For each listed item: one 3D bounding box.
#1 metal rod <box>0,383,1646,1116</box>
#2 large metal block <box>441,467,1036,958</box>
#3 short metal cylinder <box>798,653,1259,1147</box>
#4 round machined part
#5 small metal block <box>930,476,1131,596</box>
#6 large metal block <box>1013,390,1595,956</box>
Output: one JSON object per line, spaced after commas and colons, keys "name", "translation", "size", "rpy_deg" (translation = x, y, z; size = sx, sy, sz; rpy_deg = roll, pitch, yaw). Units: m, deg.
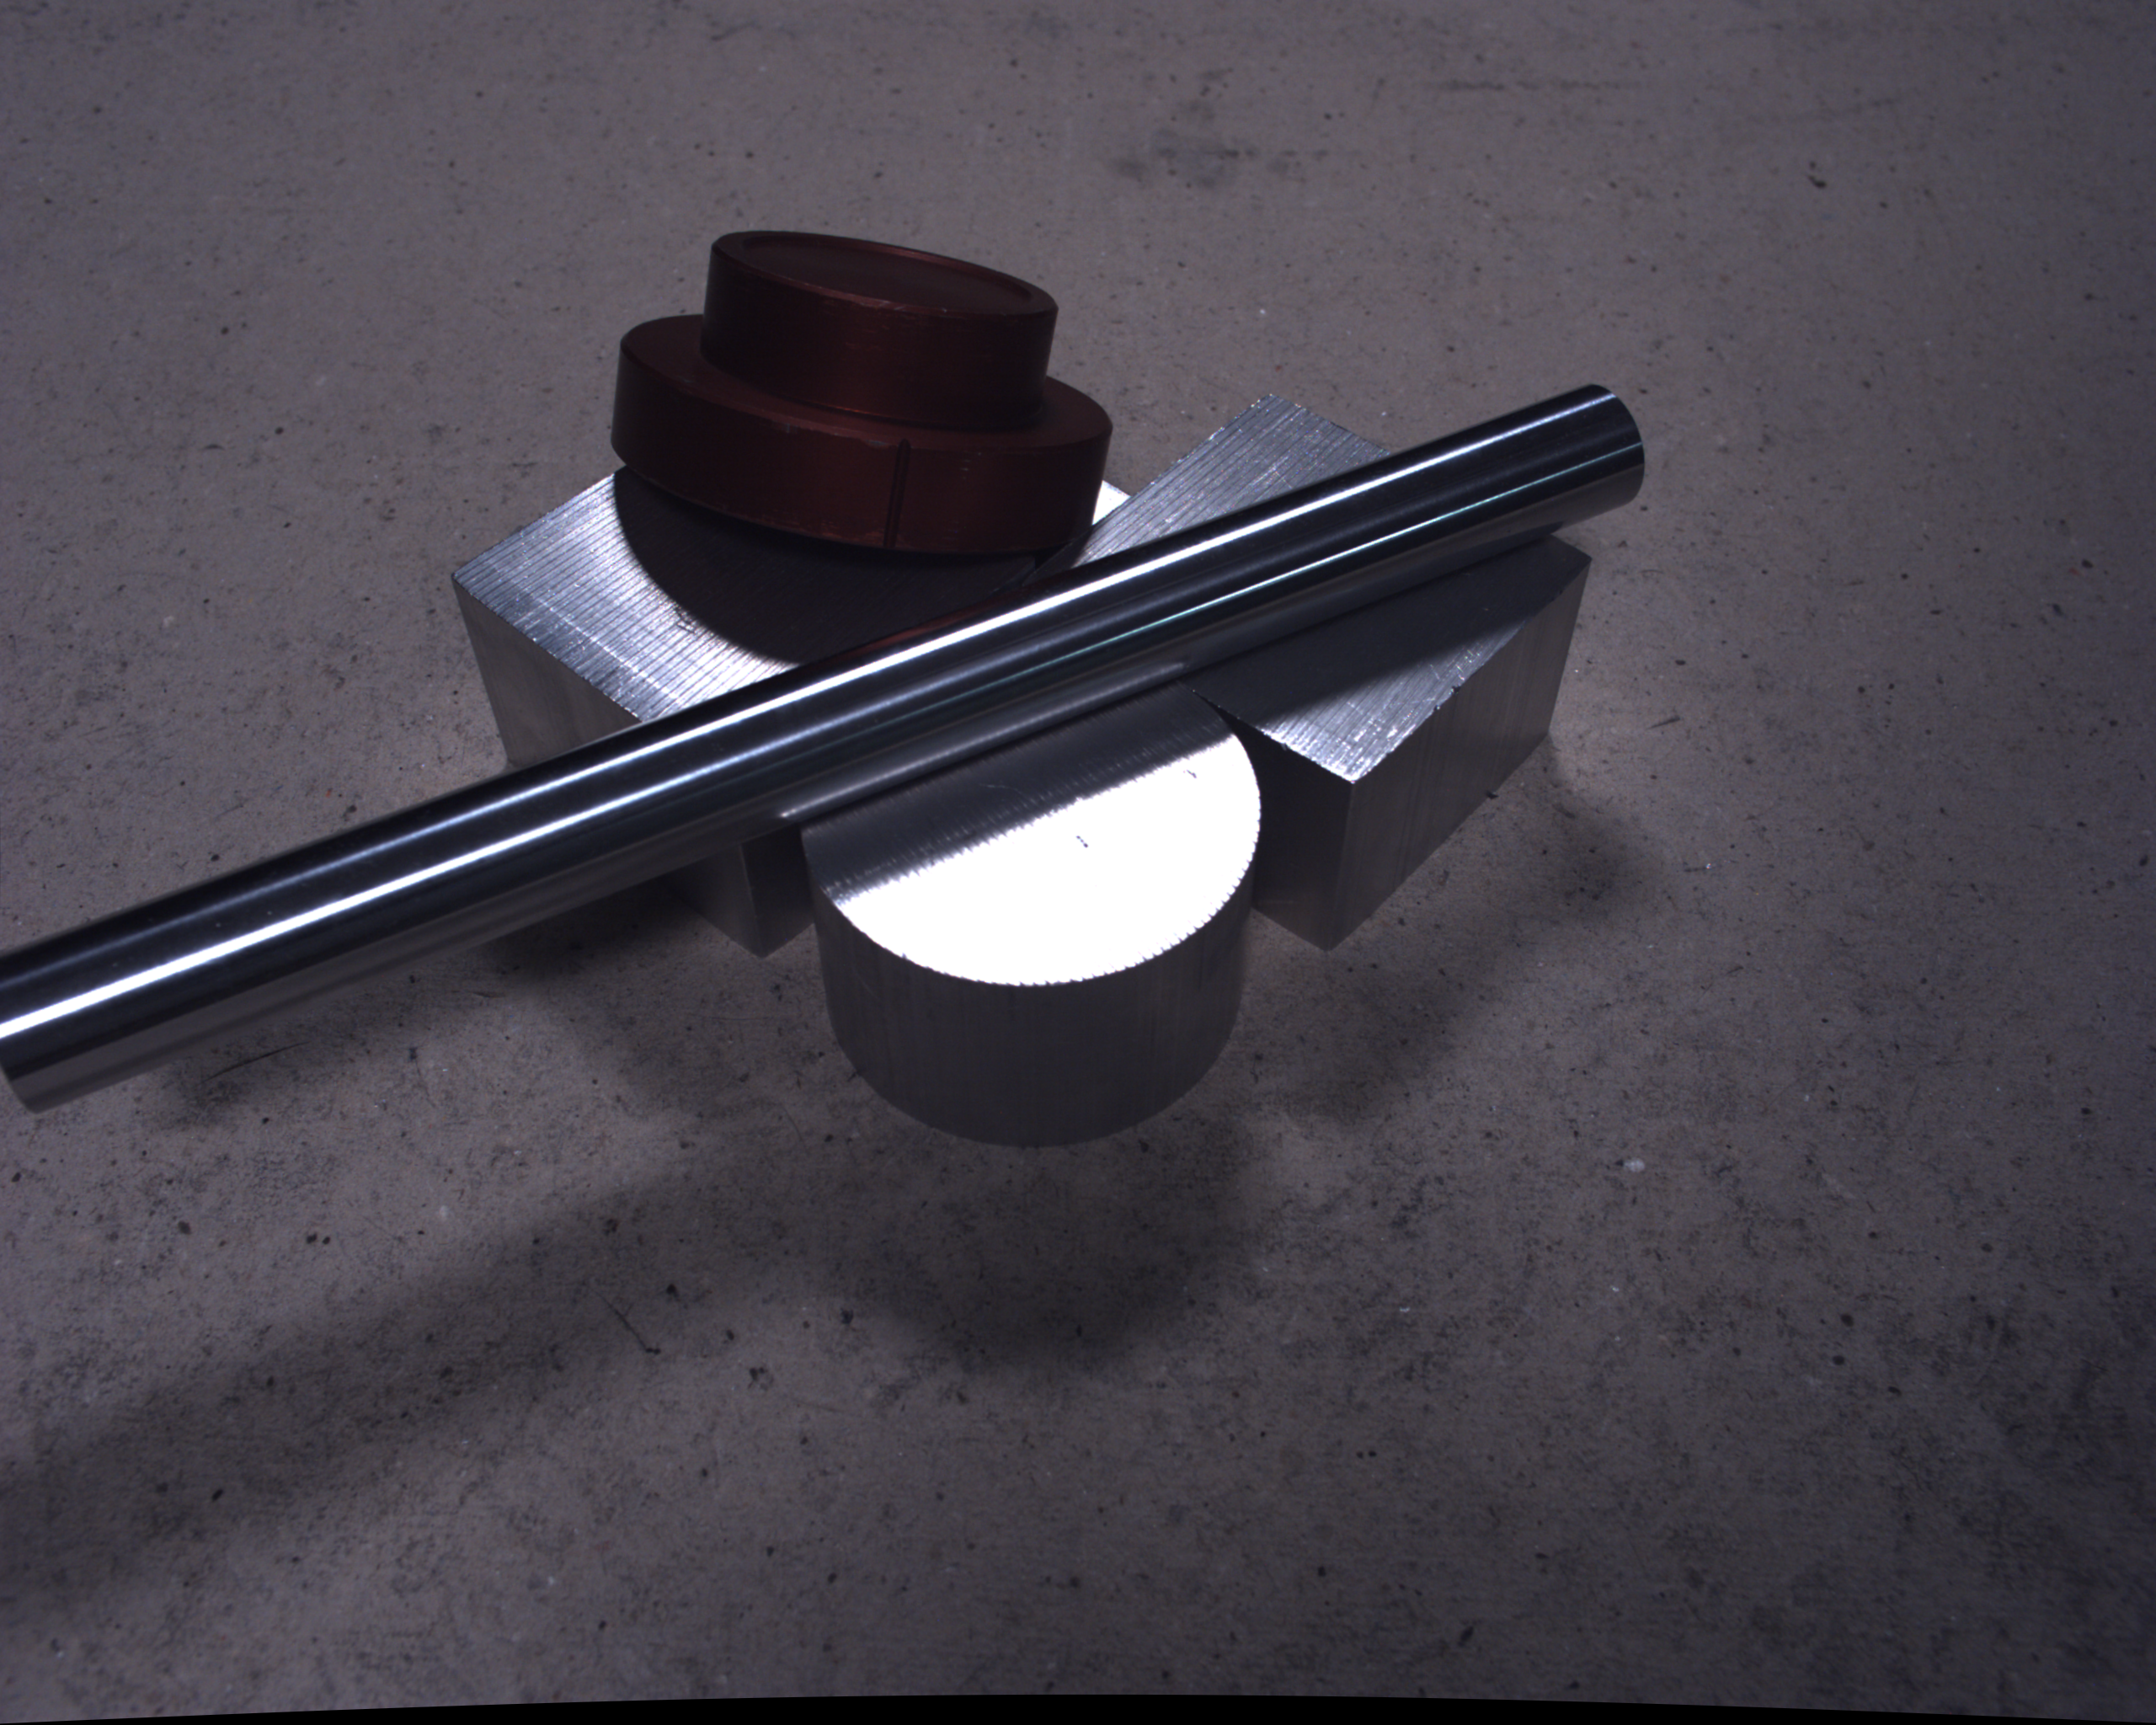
{"name": "metal rod", "translation": [-0.030, -0.028, 0.362], "size": [0.302, 0.025, 0.025], "rpy_deg": [-22, 54, -18]}
{"name": "large metal block", "translation": [-0.065, -0.041, 0.420], "size": [0.080, 0.050, 0.080], "rpy_deg": [35, 58, 25]}
{"name": "short metal cylinder", "translation": [-0.009, 0.005, 0.383], "size": [0.081, 0.050, 0.080], "rpy_deg": [0, 50, 0]}
{"name": "round machined part", "translation": [-0.042, -0.097, 0.417], "size": [0.099, 0.042, 0.098], "rpy_deg": [10, 24, -4]}
{"name": "small metal block", "translation": [-0.011, -0.063, 0.457], "size": [0.050, 0.025, 0.050], "rpy_deg": [35, 58, 25]}
{"name": "large metal block", "translation": [0.044, -0.041, 0.424], "size": [0.080, 0.050, 0.080], "rpy_deg": [34, 58, 25]}
